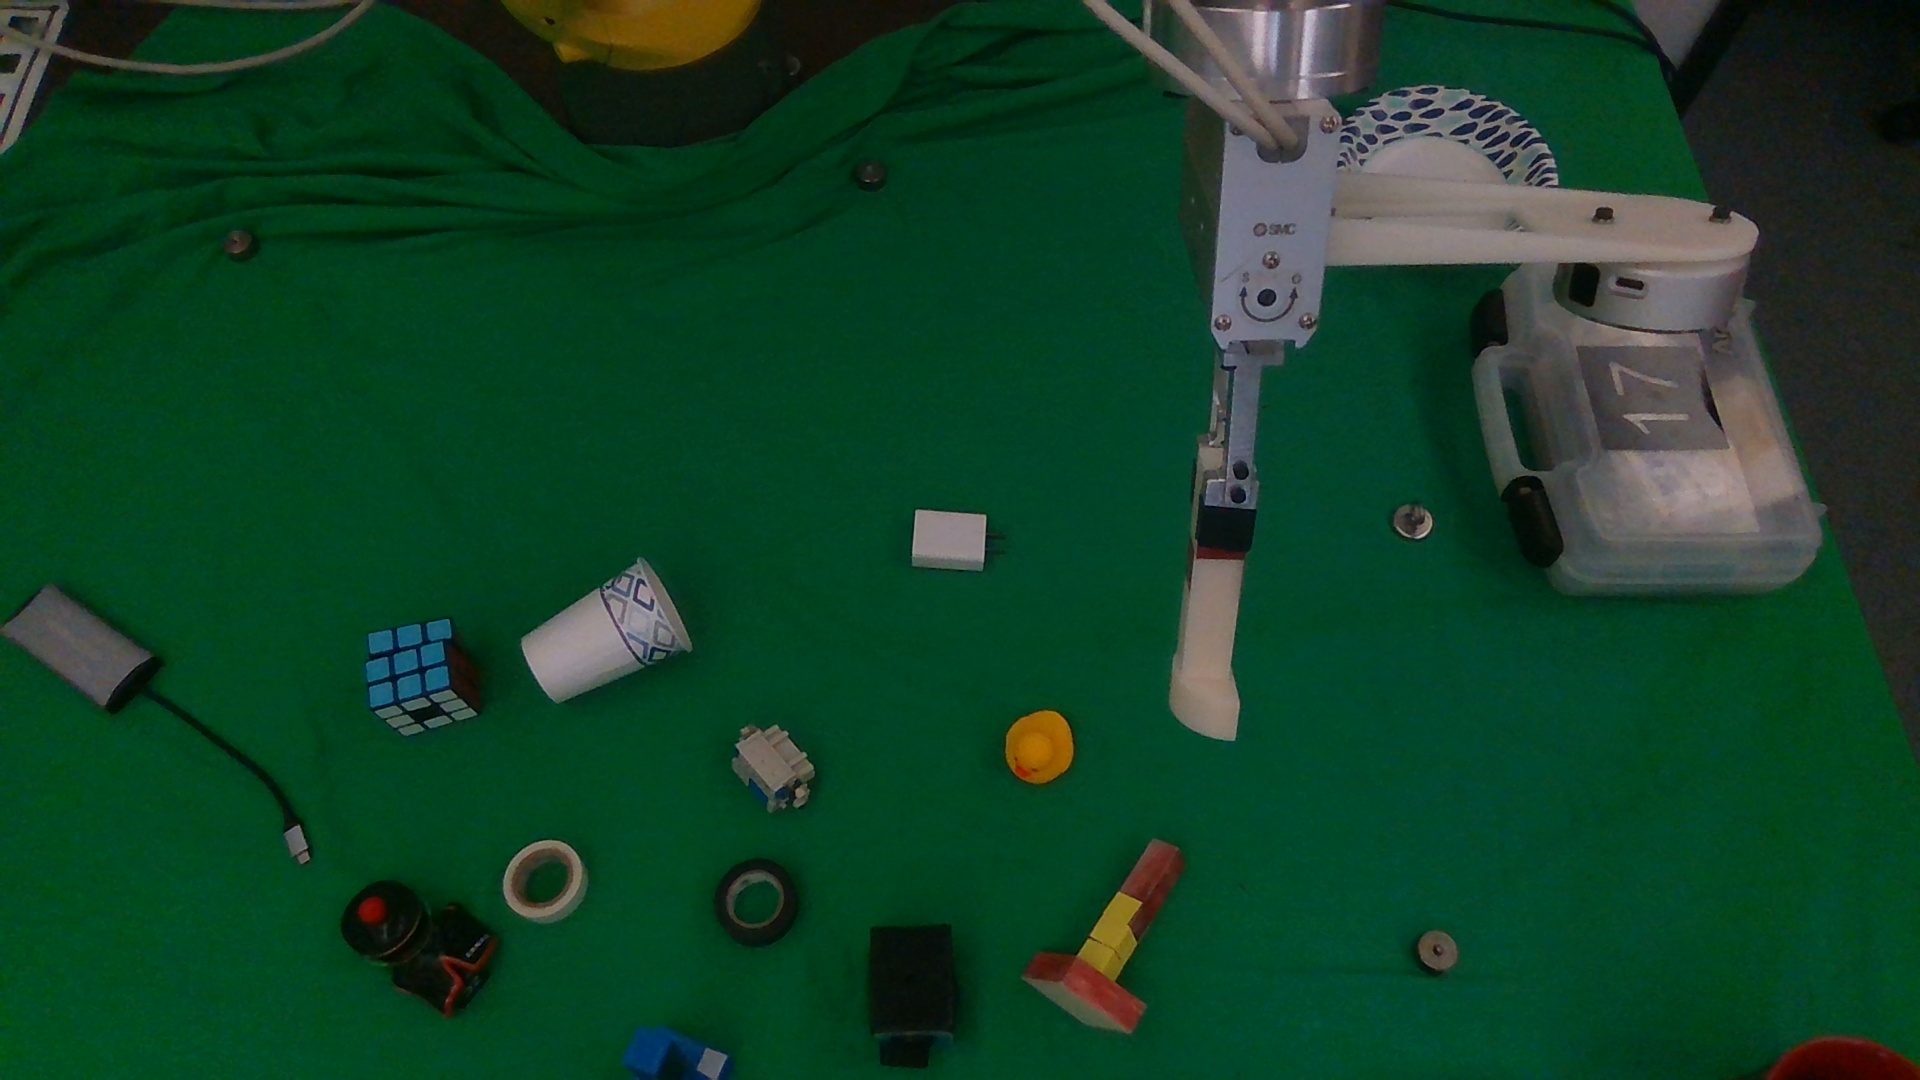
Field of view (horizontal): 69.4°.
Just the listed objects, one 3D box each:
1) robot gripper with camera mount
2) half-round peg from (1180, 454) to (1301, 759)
[{"bbox_3d":[0.171,-0.078,0.491,0.193,0.158,0.119,0,28,3],"label":"robot gripper with camera mount"},{"bbox_3d":[0.109,0.023,0.541,0.031,0.122,0.054,-1,30,-9],"label":"half-round peg"}]
